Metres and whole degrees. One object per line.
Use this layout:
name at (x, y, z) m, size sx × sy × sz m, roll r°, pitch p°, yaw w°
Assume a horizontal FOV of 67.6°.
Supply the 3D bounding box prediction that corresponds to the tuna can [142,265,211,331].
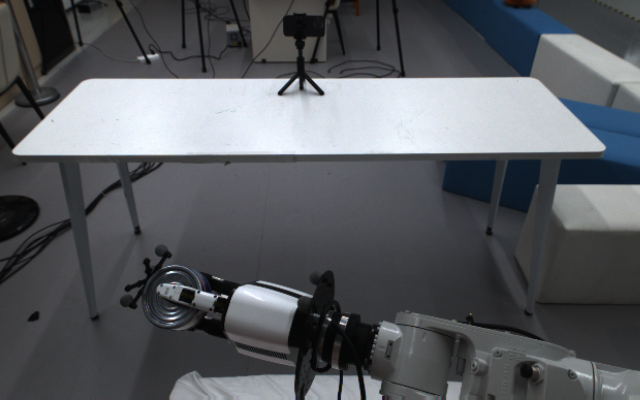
tuna can at (-0.188, 0.134, 0.641) m, size 0.085 × 0.034 × 0.085 m, roll -2°, pitch 72°, yaw 7°
